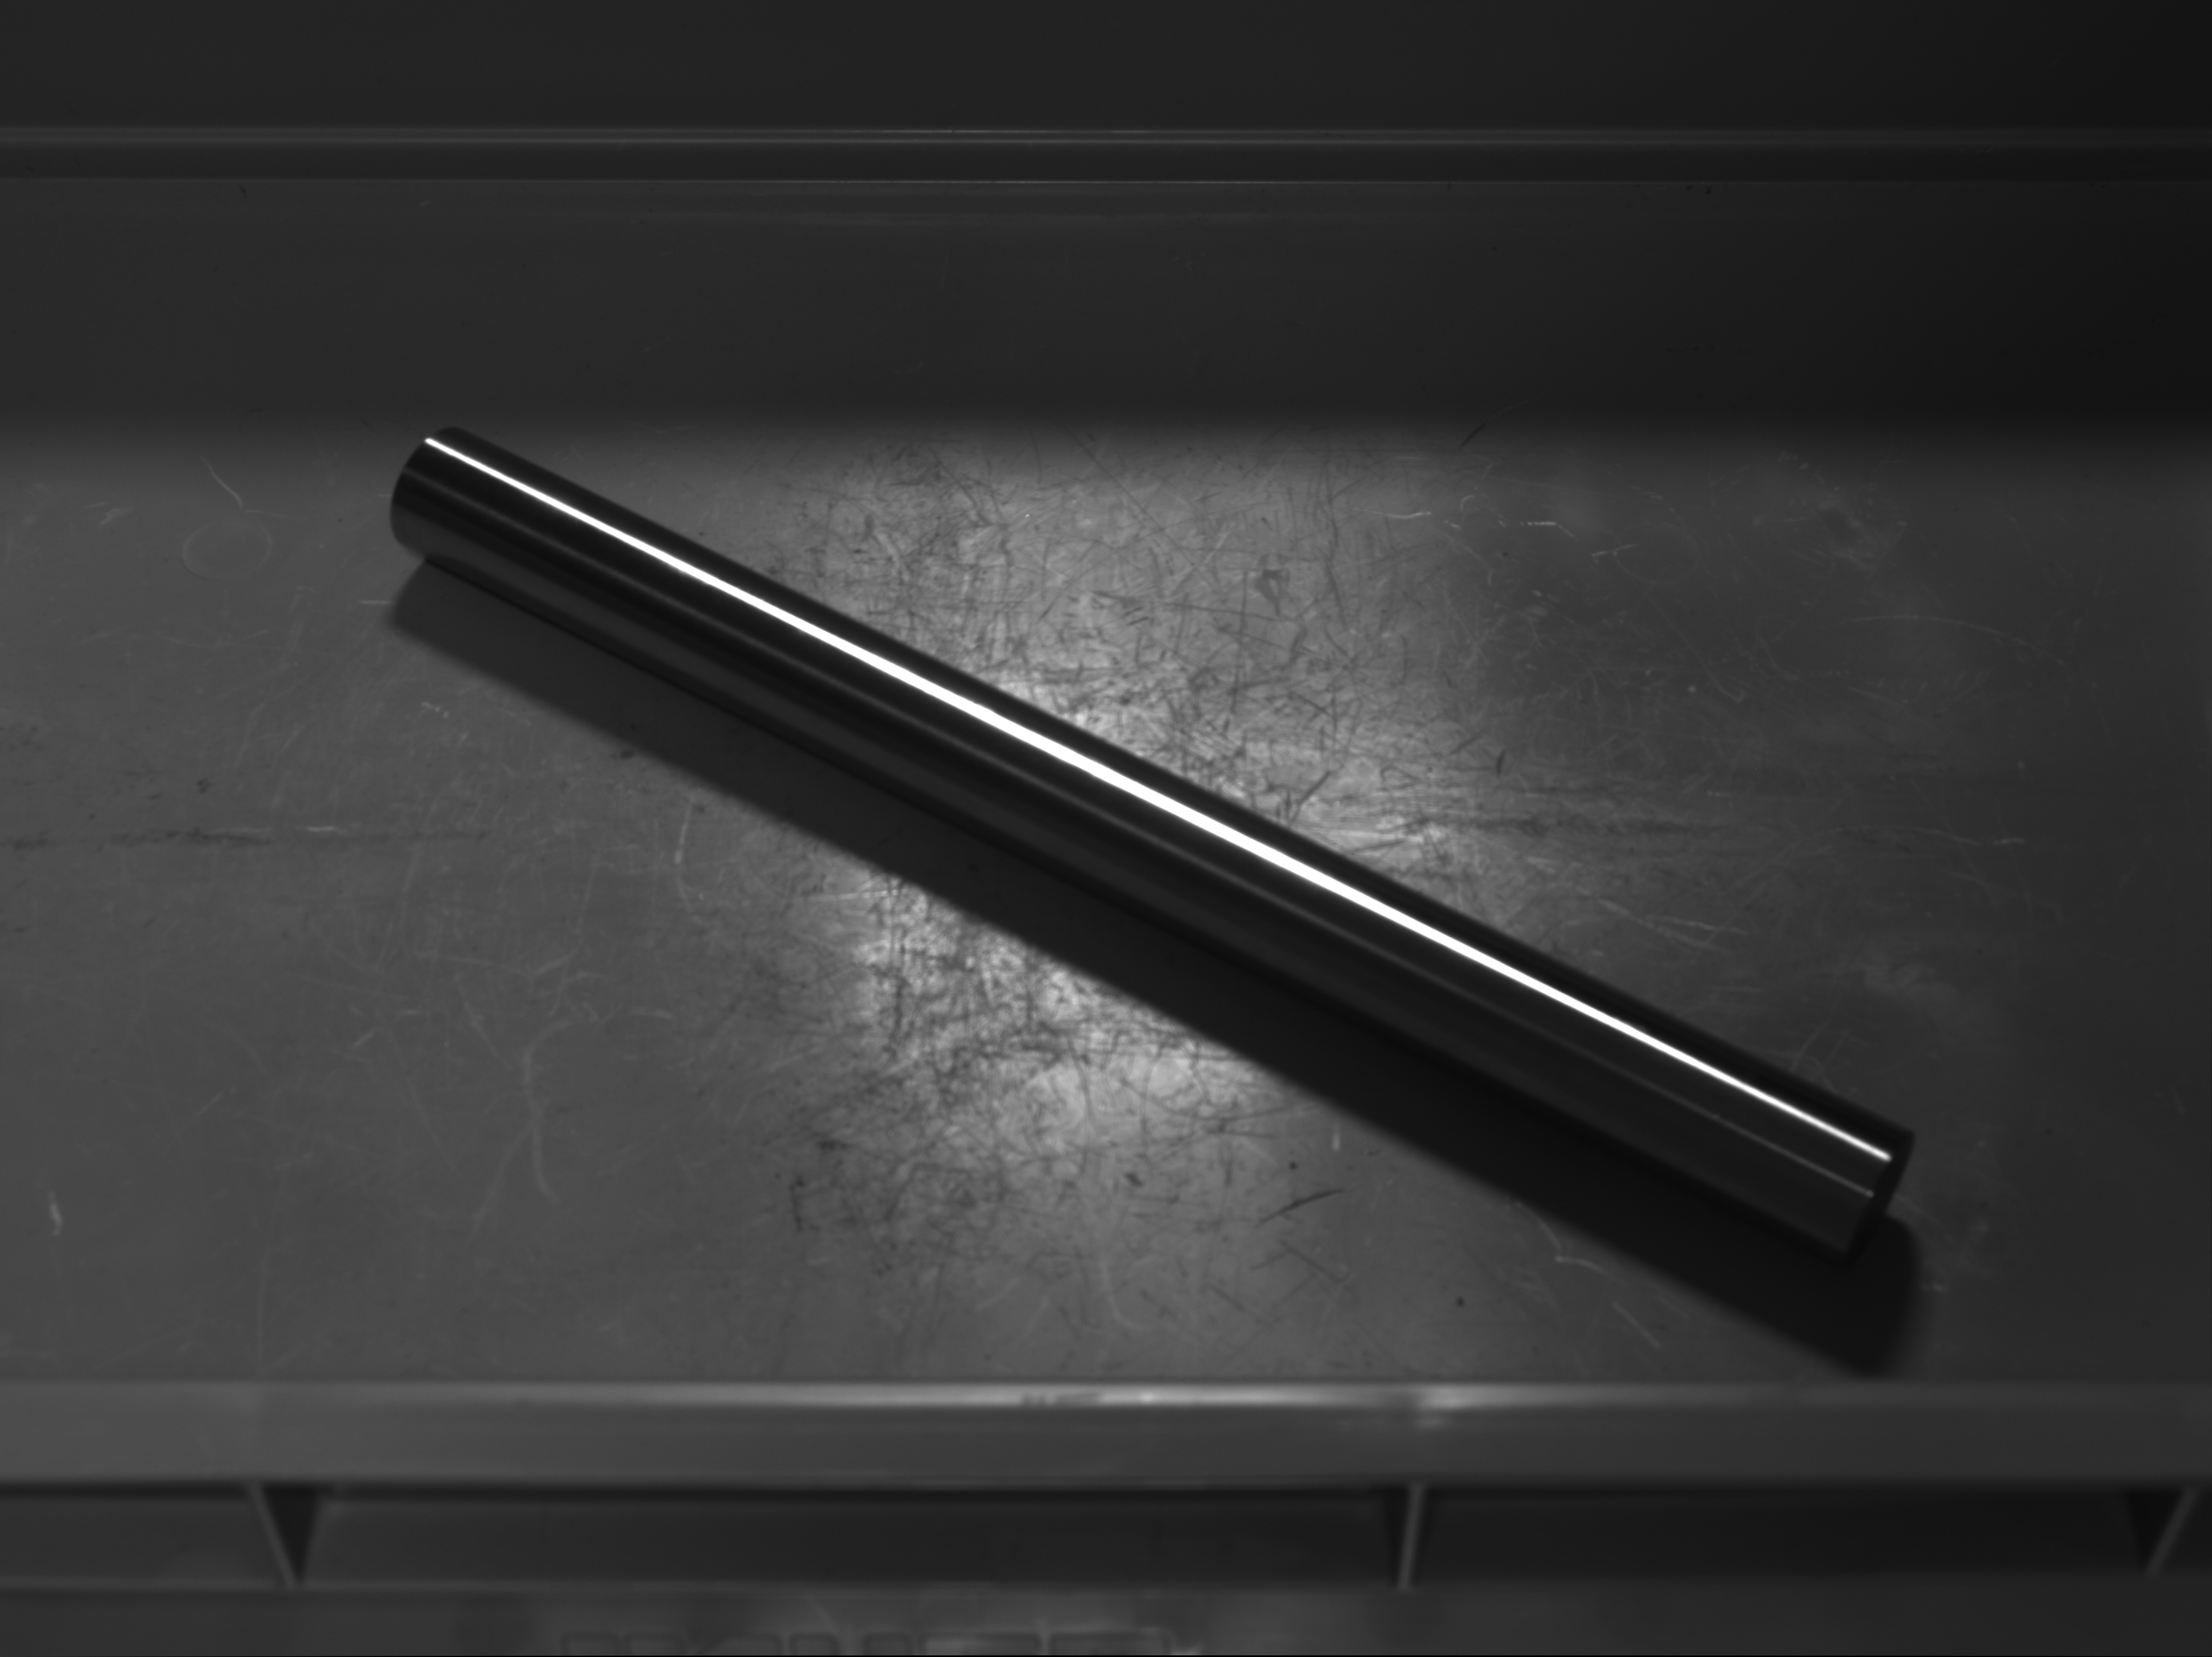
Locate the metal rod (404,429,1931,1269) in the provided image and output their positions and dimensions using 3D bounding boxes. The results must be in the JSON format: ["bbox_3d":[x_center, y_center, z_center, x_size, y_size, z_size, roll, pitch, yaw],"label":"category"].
[{"bbox_3d":[0.001,-0.002,0.642,0.299,0.025,0.025,26,55,20],"label":"metal rod"}]
